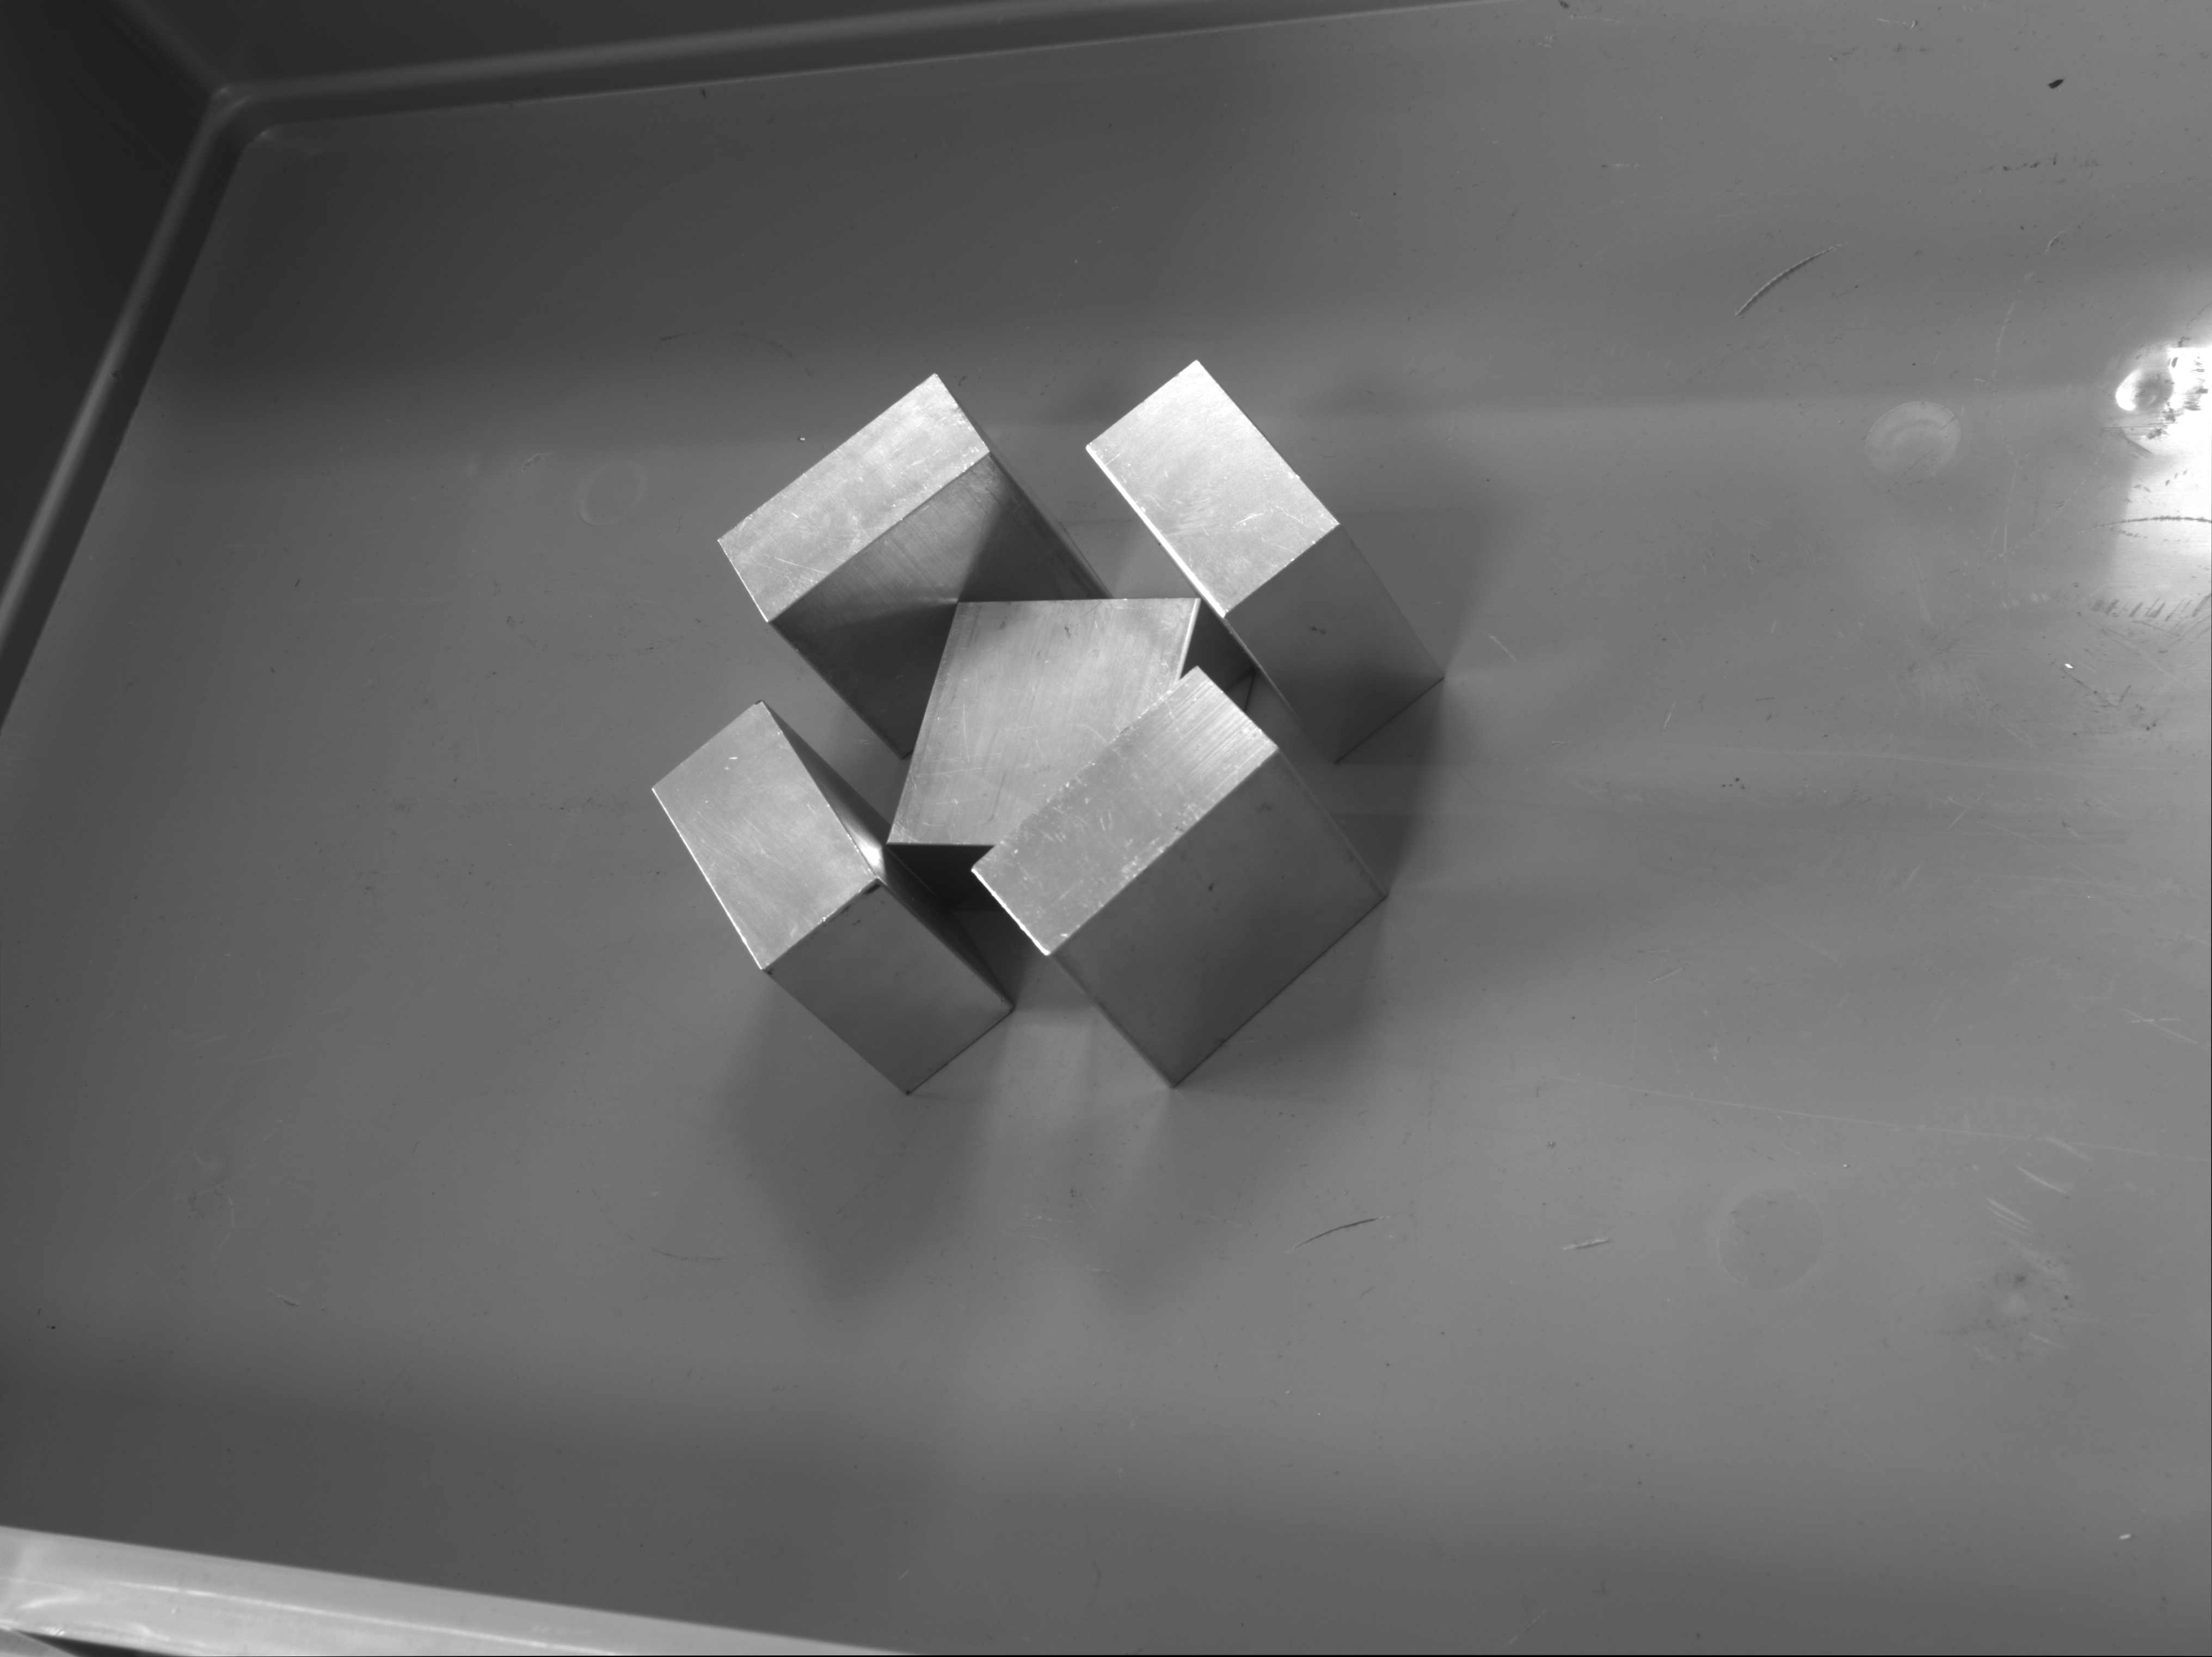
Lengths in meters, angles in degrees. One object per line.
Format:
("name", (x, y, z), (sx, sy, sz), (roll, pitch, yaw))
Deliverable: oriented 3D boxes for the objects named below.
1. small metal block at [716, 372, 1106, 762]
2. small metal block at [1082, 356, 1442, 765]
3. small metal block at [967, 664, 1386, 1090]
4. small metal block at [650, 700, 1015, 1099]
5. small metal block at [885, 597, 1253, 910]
("small metal block", (-0.035, -0.047, 0.674), (0.050, 0.050, 0.025), (-37, 50, 5))
("small metal block", (0.027, -0.047, 0.640), (0.025, 0.050, 0.050), (-38, 51, 2))
("small metal block", (0.013, 0.009, 0.614), (0.050, 0.050, 0.025), (-42, 51, -1))
("small metal block", (-0.048, 0.013, 0.645), (0.025, 0.050, 0.050), (-39, 50, 3))
("small metal block", (-0.006, -0.013, 0.654), (0.050, 0.025, 0.050), (1, 62, 29))
